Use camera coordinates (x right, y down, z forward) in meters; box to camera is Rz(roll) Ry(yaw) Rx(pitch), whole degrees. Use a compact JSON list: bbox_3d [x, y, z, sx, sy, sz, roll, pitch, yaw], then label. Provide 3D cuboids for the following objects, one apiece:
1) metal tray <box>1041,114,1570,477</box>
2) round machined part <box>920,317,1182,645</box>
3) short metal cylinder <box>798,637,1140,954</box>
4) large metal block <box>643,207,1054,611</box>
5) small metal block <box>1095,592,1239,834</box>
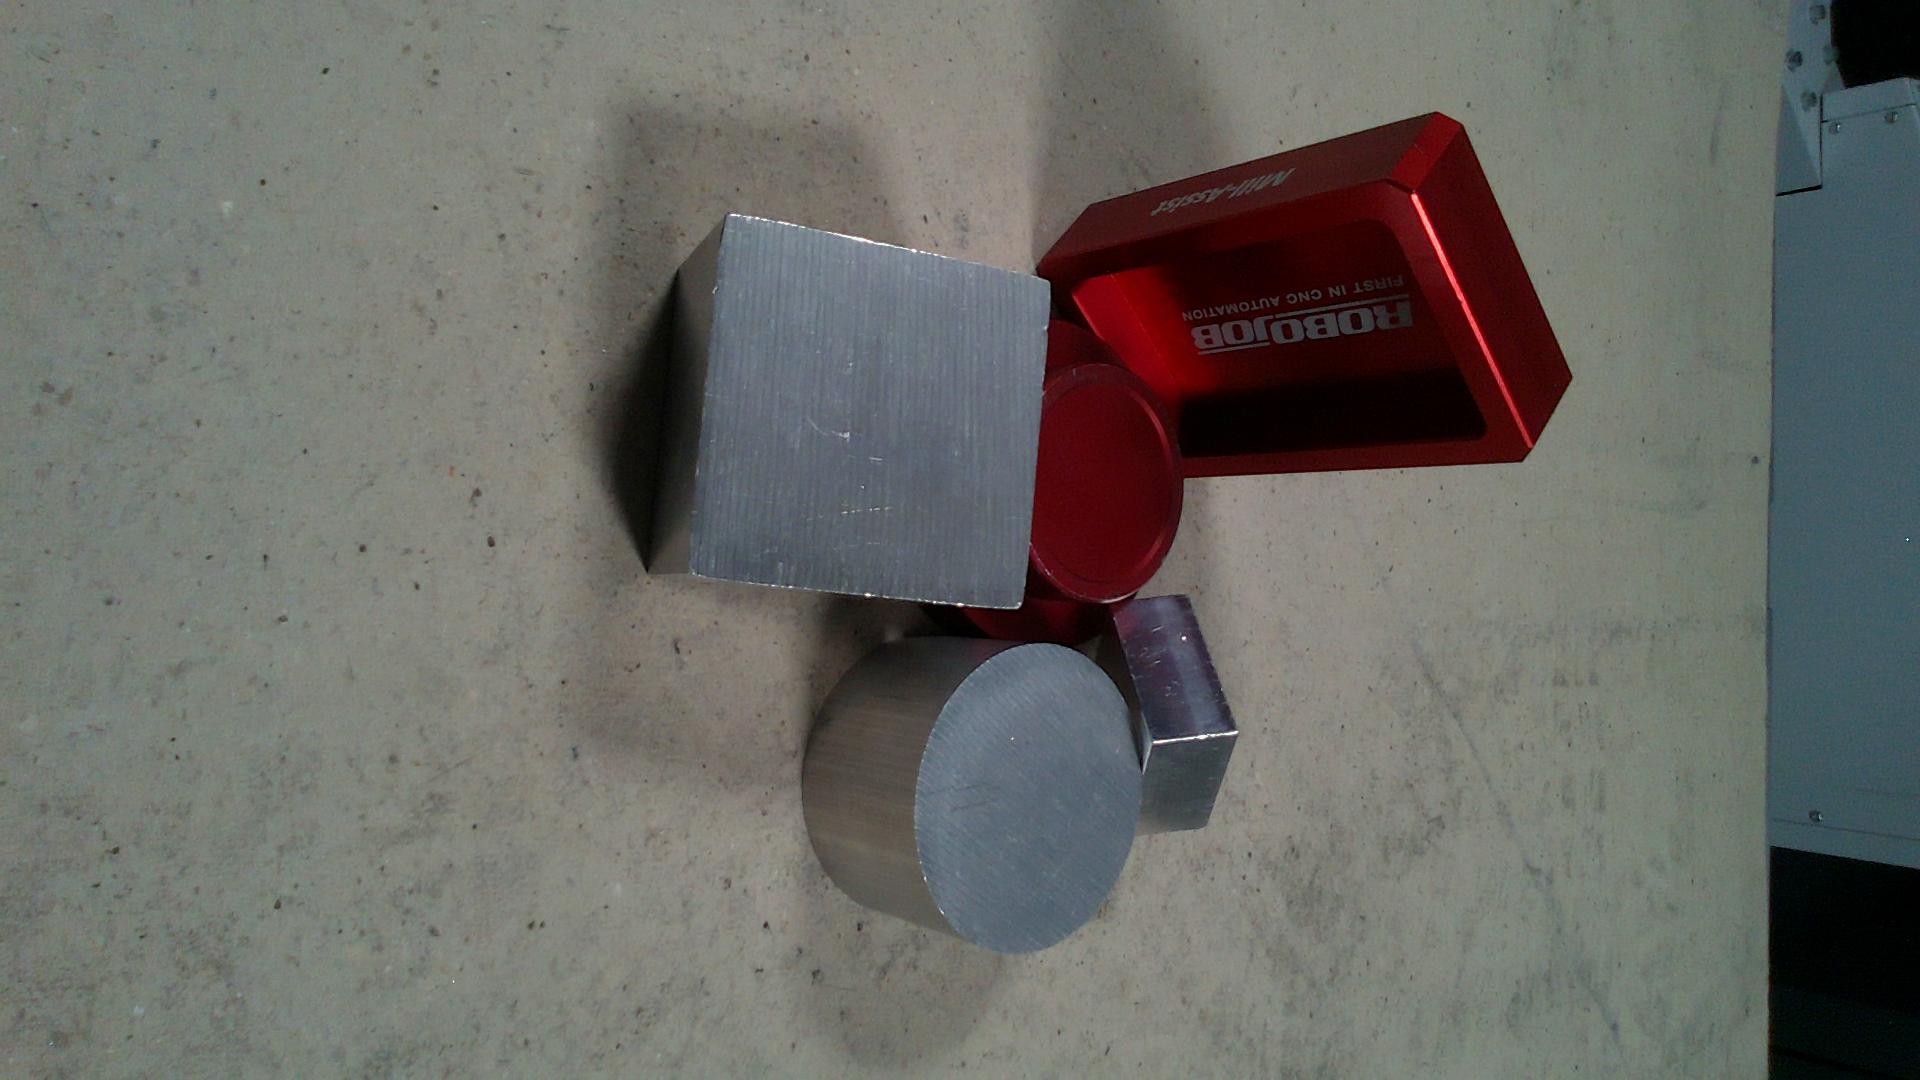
[{"bbox_3d":[0.095,-0.063,0.398,0.030,0.129,0.090,-52,120,-27],"label":"metal tray"},{"bbox_3d":[0.027,-0.017,0.401,0.098,0.042,0.098,0,90,-40],"label":"round machined part"},{"bbox_3d":[0.003,0.067,0.376,0.080,0.050,0.080,0,90,-40],"label":"short metal cylinder"},{"bbox_3d":[-0.028,-0.027,0.333,0.080,0.050,0.080,7,85,-22],"label":"large metal block"},{"bbox_3d":[0.058,0.052,0.407,0.025,0.050,0.050,-5,138,-9],"label":"small metal block"}]
